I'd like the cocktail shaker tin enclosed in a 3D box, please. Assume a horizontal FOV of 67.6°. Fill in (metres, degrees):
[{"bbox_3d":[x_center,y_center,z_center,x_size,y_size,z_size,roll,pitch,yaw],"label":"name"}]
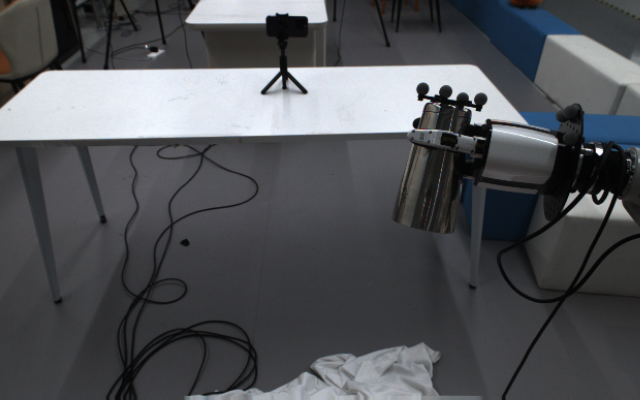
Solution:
[{"bbox_3d":[0.167,-0.051,0.690,0.093,0.170,0.093,10,9,-2],"label":"cocktail shaker tin"}]
